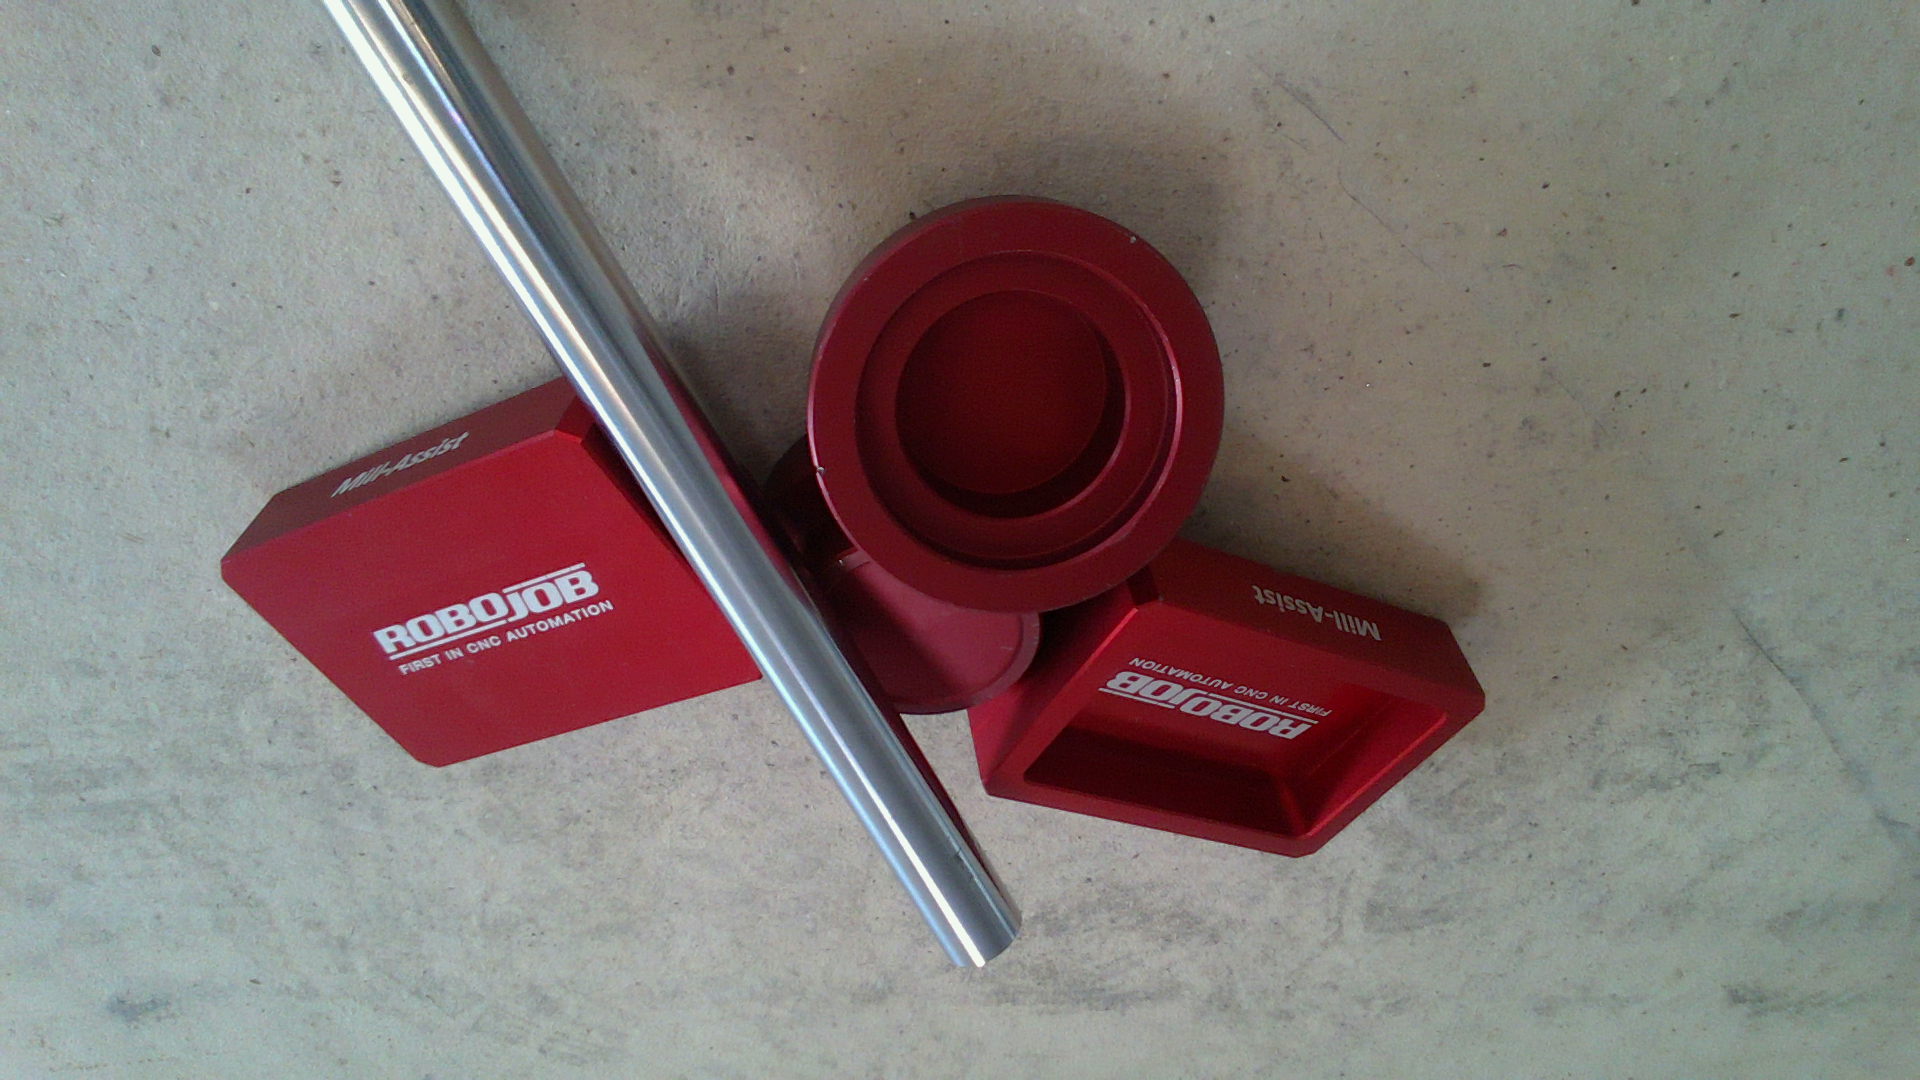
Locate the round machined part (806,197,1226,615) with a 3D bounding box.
[{"bbox_3d":[0.012,-0.035,0.336,0.098,0.042,0.098,-2,109,-6],"label":"round machined part"}]

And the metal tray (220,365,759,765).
[{"bbox_3d":[-0.125,0.012,0.383,0.130,0.030,0.090,-16,126,24],"label":"metal tray"}]

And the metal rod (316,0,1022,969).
[{"bbox_3d":[-0.061,-0.006,0.341,0.025,0.025,0.300,-22,114,17],"label":"metal rod"}]

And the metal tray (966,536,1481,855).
[{"bbox_3d":[0.079,0.050,0.416,0.130,0.030,0.090,16,129,-27],"label":"metal tray"}]

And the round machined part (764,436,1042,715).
[{"bbox_3d":[-0.012,0.012,0.390,0.098,0.042,0.098,0,130,0],"label":"round machined part"}]
